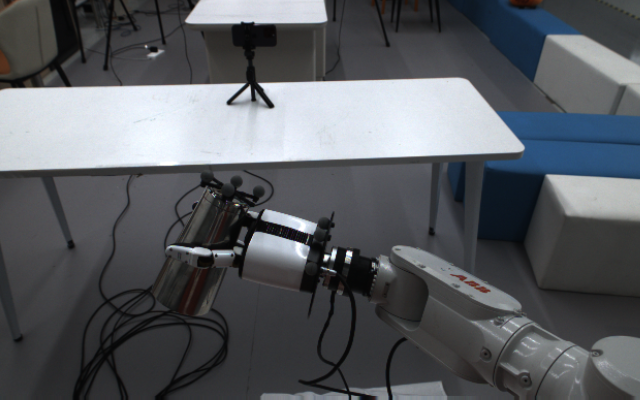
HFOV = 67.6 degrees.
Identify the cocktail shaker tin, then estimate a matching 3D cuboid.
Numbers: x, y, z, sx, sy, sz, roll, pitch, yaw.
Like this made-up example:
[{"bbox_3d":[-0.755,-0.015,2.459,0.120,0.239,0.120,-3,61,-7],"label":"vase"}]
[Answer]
[{"bbox_3d":[-0.163,0.067,0.693,0.093,0.170,0.093,24,12,-6],"label":"cocktail shaker tin"}]
